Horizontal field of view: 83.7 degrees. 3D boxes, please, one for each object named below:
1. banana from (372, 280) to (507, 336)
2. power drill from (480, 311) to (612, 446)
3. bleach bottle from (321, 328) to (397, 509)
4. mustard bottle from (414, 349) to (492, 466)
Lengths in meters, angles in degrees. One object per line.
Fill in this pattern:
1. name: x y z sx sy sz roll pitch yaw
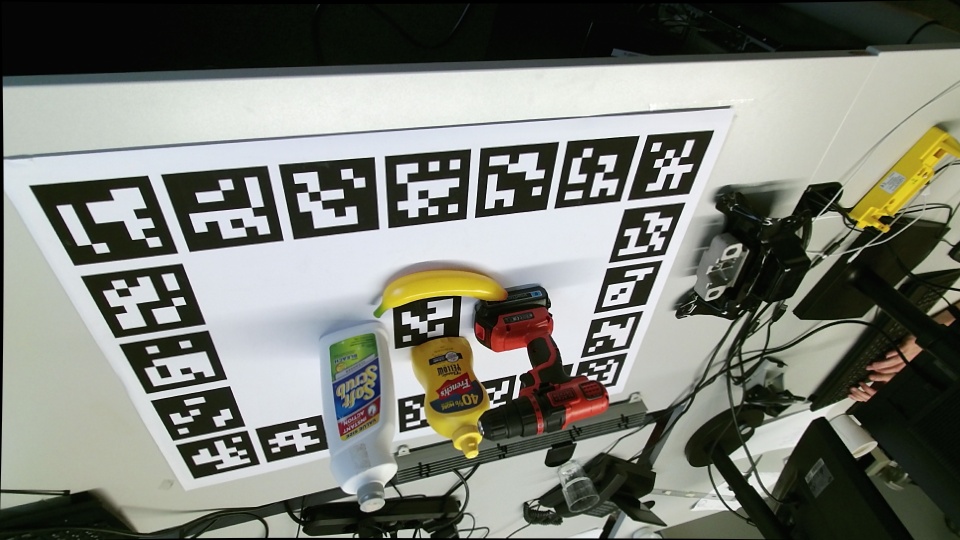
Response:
1. banana: -0.054 0.047 0.754 0.198 0.038 0.074 -7 125 -18
2. power drill: 0.072 0.152 0.764 0.185 0.186 0.057 -10 137 -11
3. bleach bottle: -0.150 0.189 0.705 0.103 0.249 0.068 -15 130 -10
4. mustard bottle: -0.035 0.203 0.790 0.096 0.190 0.058 -8 130 -14
